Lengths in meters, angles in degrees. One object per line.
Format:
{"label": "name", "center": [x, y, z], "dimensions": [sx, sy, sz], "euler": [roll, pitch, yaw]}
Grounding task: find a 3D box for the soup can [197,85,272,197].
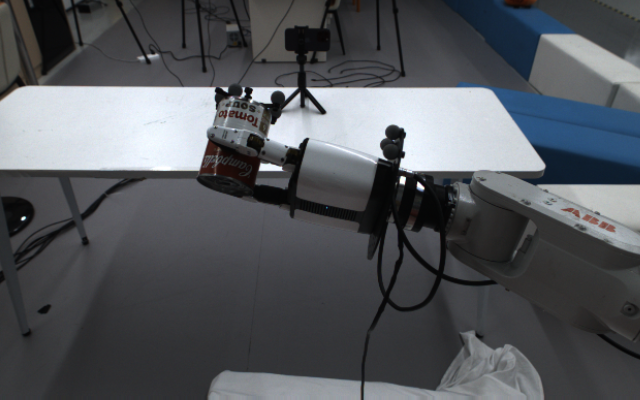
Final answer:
{"label": "soup can", "center": [-0.100, -0.063, 0.578], "dimensions": [0.067, 0.067, 0.101], "euler": [9, 74, 9]}
